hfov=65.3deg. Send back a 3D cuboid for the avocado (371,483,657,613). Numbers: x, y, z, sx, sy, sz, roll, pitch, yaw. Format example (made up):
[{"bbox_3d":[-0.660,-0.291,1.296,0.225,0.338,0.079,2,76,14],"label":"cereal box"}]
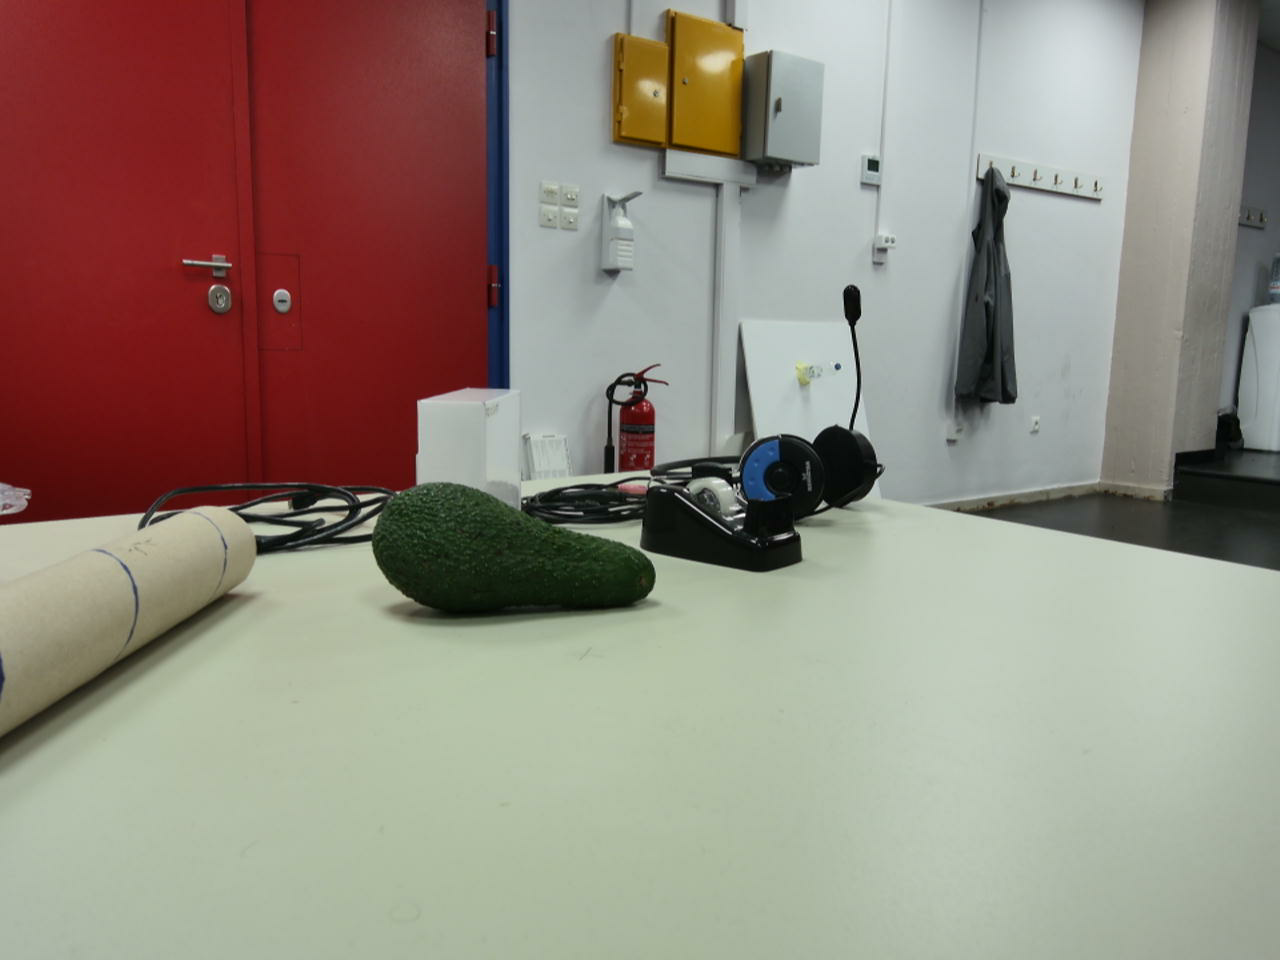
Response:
[{"bbox_3d":[-0.064,0.033,0.510,0.141,0.067,0.063,-3,7,-22],"label":"avocado"}]
